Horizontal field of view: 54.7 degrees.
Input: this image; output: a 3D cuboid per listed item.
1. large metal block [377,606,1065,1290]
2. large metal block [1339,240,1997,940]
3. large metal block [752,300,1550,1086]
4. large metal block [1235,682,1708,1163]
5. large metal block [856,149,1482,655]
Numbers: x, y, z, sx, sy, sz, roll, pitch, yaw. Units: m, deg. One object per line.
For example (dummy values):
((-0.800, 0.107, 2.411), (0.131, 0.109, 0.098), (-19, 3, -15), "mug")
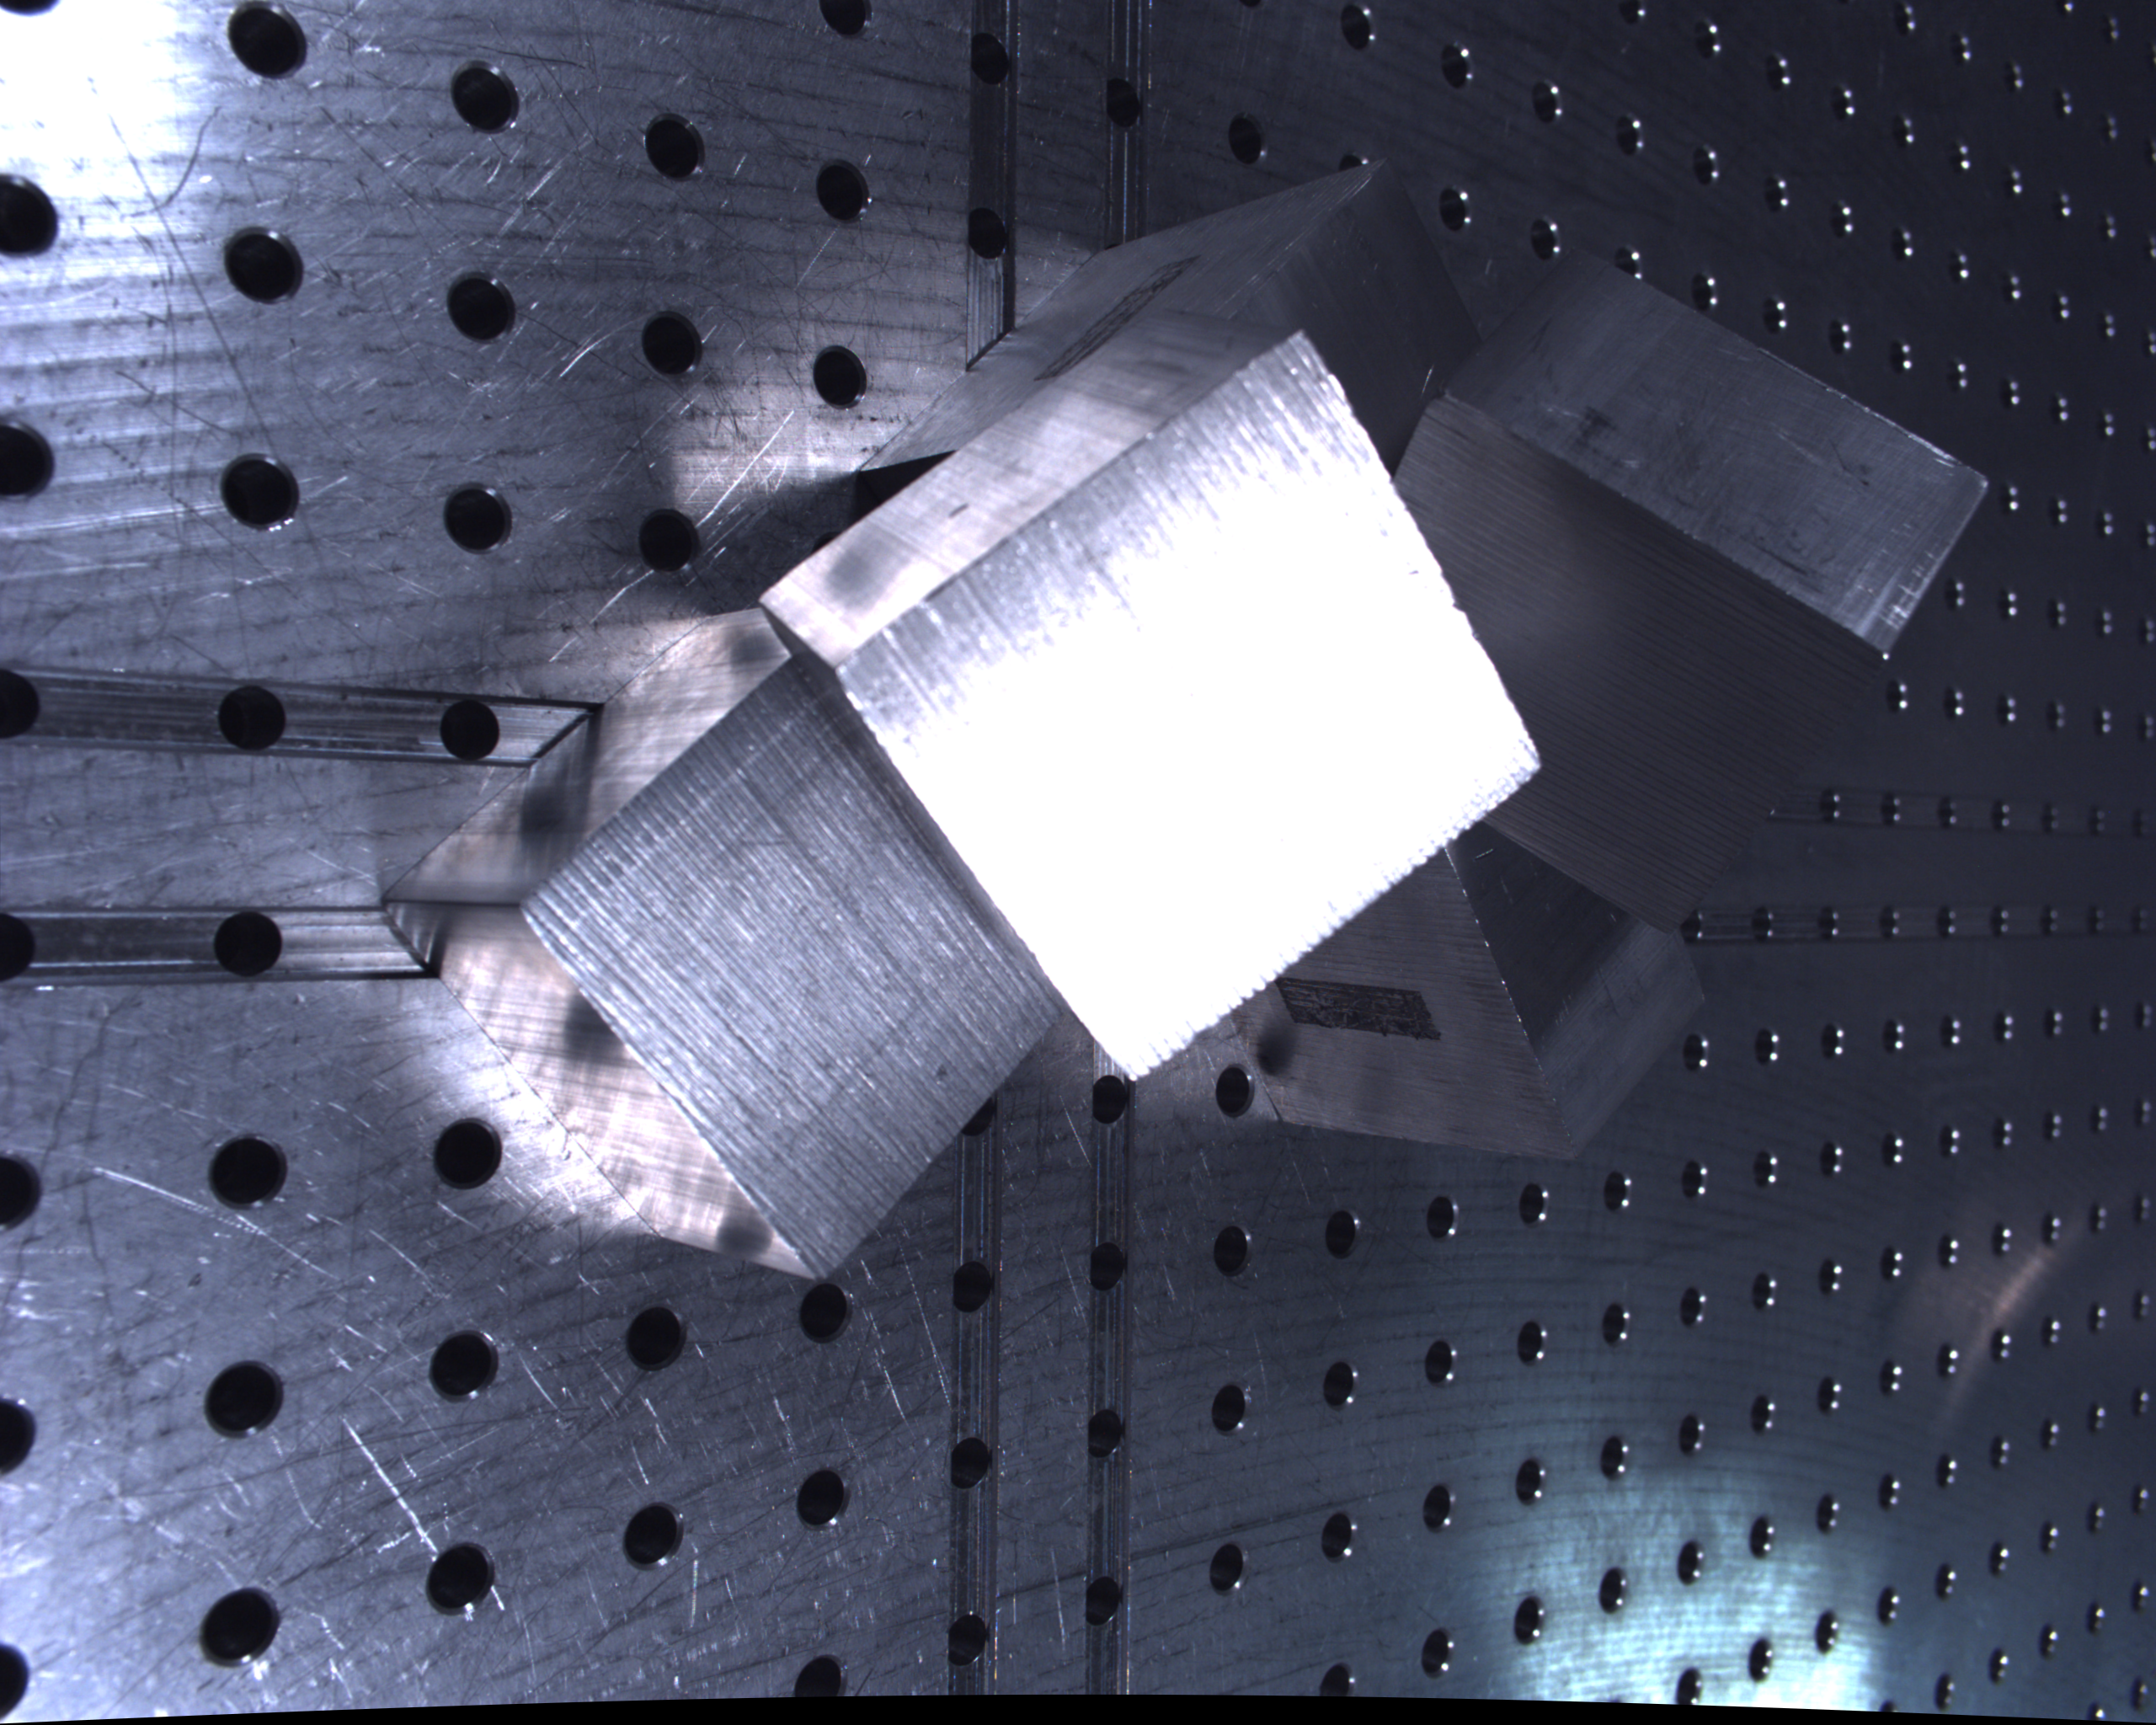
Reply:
((-0.052, 0.011, 0.350), (0.080, 0.050, 0.080), (-47, 118, -30), "large metal block")
((0.094, -0.046, 0.362), (0.080, 0.080, 0.050), (34, 55, 11), "large metal block")
((0.011, -0.028, 0.318), (0.080, 0.050, 0.080), (-37, 116, -6), "large metal block")
((0.071, 0.011, 0.434), (0.050, 0.080, 0.080), (-41, 116, -32), "large metal block")
((0.020, -0.081, 0.390), (0.080, 0.080, 0.050), (-49, 120, -29), "large metal block")
